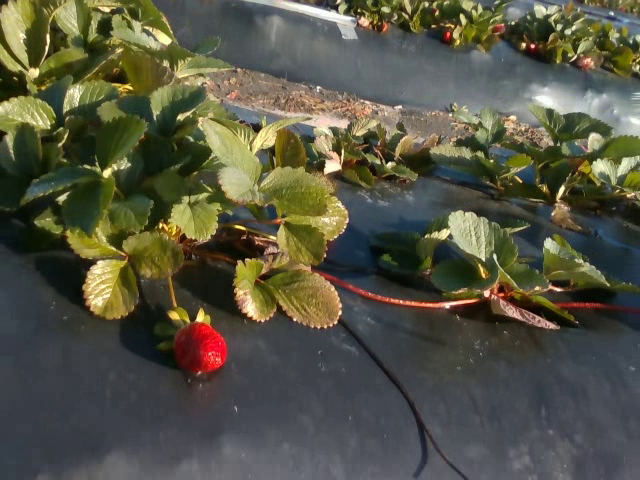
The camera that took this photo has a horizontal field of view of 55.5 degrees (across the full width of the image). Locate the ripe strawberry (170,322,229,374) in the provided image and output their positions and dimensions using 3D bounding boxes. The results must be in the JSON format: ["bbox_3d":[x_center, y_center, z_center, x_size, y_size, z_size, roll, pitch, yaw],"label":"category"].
[{"bbox_3d":[-0.056,0.051,0.283,0.028,0.031,0.041,-22,10,-21],"label":"ripe strawberry"}]
